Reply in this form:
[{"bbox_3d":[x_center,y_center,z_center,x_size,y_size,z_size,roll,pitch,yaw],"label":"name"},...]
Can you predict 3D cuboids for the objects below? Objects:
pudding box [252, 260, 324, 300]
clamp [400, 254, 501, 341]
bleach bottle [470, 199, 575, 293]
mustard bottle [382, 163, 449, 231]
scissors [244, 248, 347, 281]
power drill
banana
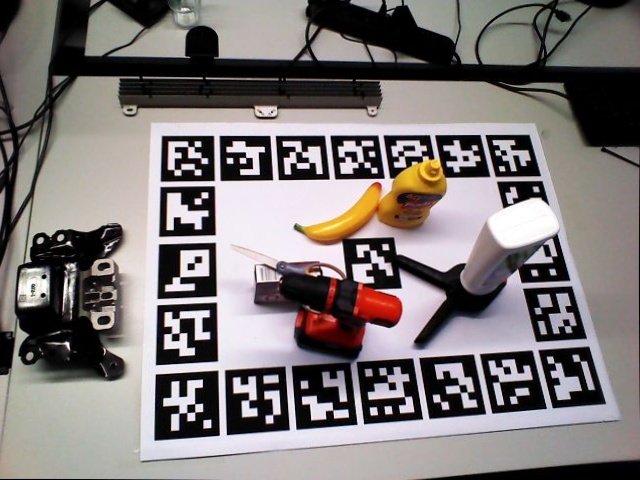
[{"bbox_3d":[-0.056,0.069,0.868,0.114,0.090,0.038,3,60,-8],"label":"pudding box"},{"bbox_3d":[0.256,0.084,0.919,0.202,0.037,0.165,-7,71,-12],"label":"clamp"},{"bbox_3d":[0.303,0.028,0.834,0.102,0.251,0.068,-21,68,-9],"label":"bleach bottle"},{"bbox_3d":[0.179,-0.080,0.913,0.096,0.192,0.058,12,66,-4],"label":"mustard bottle"},{"bbox_3d":[-0.057,0.038,0.811,0.203,0.016,0.087,23,70,-3],"label":"scissors"},{"bbox_3d":[0.019,0.115,0.775,0.185,0.188,0.057,10,59,-1],"label":"power drill"},{"bbox_3d":[0.062,-0.066,0.962,0.196,0.039,0.074,-40,61,-20],"label":"banana"}]
